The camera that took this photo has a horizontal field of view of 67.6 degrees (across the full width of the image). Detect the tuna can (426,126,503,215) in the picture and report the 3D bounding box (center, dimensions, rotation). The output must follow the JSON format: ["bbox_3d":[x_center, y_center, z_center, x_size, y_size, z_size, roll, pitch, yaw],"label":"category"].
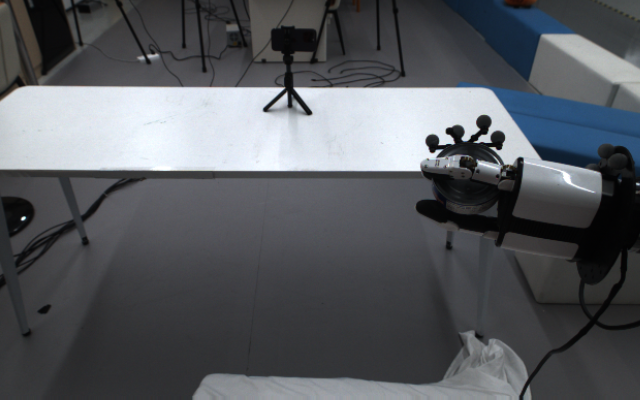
[{"bbox_3d":[0.179,-0.028,0.589,0.085,0.034,0.085,-6,59,11],"label":"tuna can"}]
